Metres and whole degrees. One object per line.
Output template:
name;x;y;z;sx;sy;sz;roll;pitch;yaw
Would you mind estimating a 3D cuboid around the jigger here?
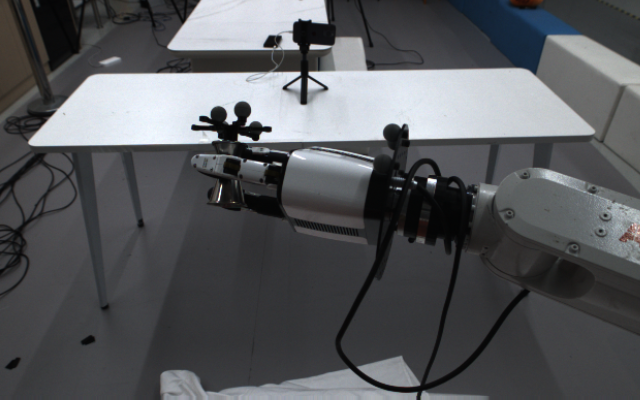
jigger;-0.099;-0.028;0.530;0.043;0.071;0.043;2;-6;0
